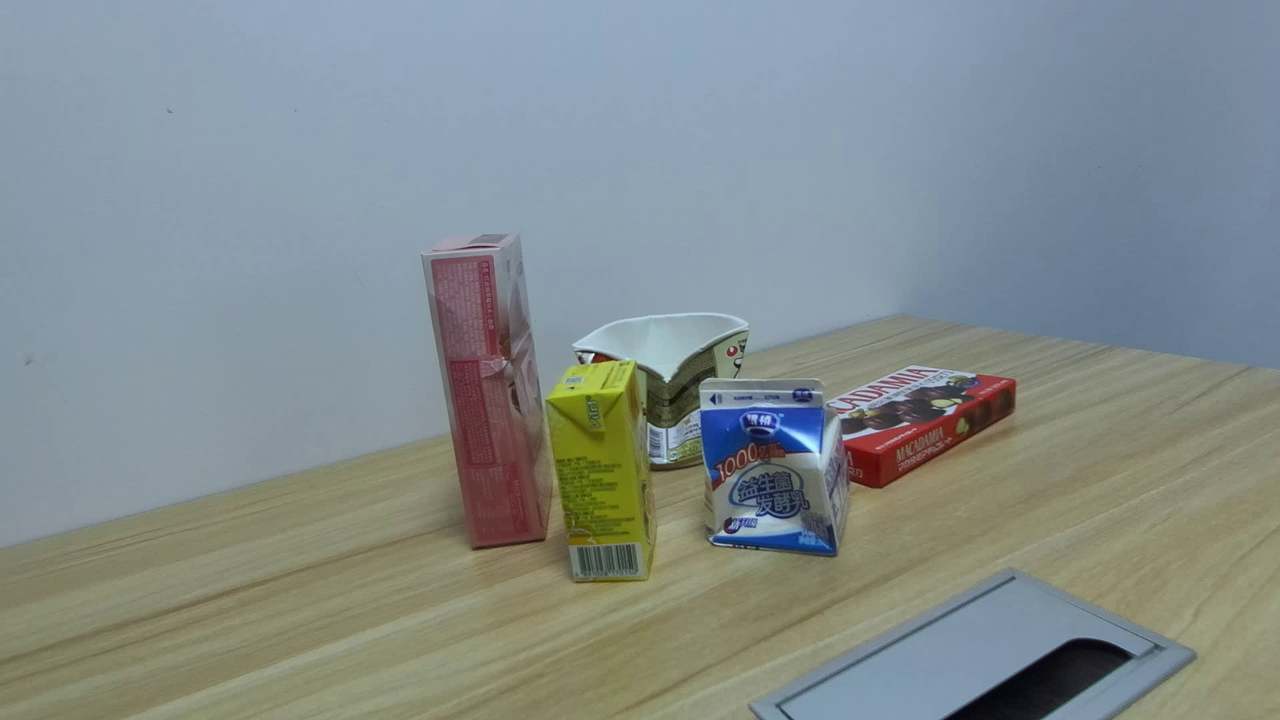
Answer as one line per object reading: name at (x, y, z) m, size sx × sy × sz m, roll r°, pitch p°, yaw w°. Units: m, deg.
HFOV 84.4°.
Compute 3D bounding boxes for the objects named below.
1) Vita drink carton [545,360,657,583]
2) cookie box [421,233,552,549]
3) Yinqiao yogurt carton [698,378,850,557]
Vita drink carton at (-0.019, 0.060, 0.402) m, size 0.043 × 0.109 × 0.066 m, roll -5°, pitch 15°, yaw 8°
cookie box at (-0.092, 0.016, 0.454) m, size 0.049 × 0.187 × 0.105 m, roll -7°, pitch 14°, yaw -1°
Yinqiao yogurt carton at (0.077, 0.054, 0.409) m, size 0.077 × 0.094 × 0.071 m, roll -2°, pitch 20°, yaw 24°
